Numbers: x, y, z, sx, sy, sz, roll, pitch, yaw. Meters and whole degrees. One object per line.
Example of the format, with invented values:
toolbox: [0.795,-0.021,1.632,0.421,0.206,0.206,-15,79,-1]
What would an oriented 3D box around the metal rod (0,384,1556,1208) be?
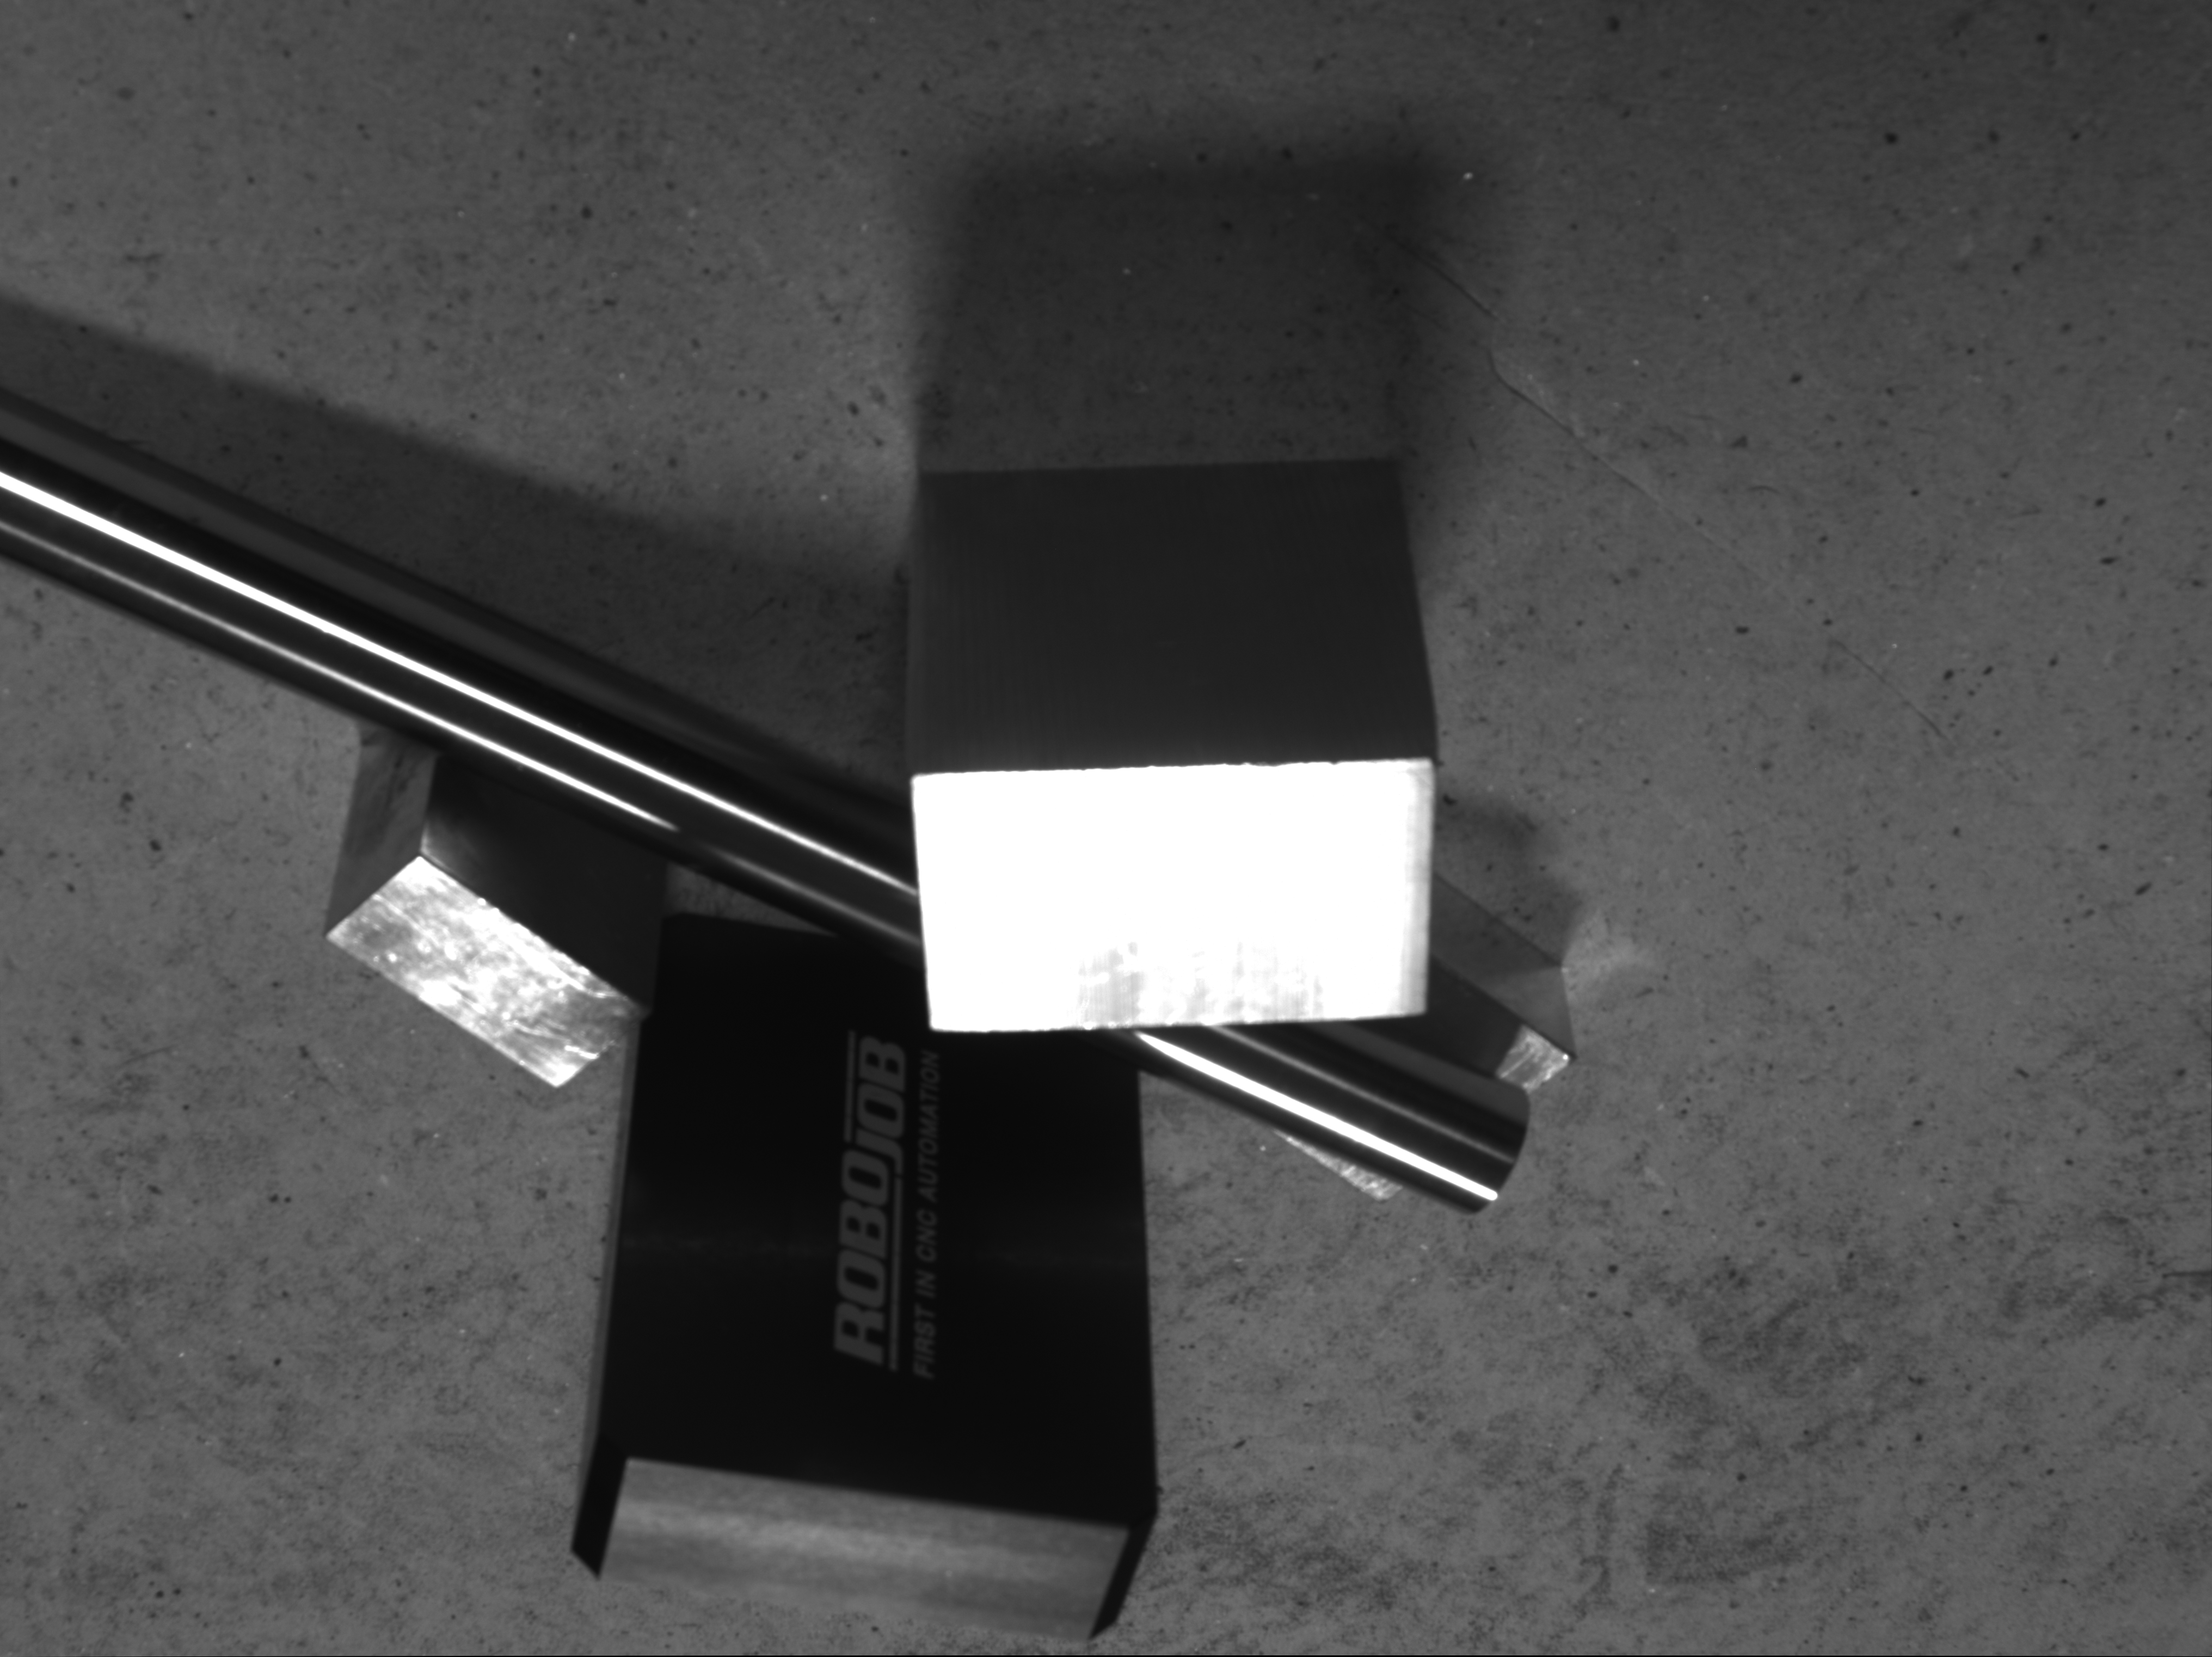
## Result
metal rod: [-0.059,-0.004,0.615,0.300,0.025,0.025,24,125,-14]

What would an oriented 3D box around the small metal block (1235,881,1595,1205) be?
small metal block: [0.053,0.035,0.671,0.050,0.025,0.050,34,121,-27]

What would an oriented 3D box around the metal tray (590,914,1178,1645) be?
metal tray: [-0.037,0.074,0.631,0.090,0.130,0.030,10,129,-10]

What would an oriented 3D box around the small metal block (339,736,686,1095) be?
small metal block: [-0.100,0.009,0.626,0.025,0.050,0.050,-37,122,26]

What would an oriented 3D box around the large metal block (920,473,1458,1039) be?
large metal block: [0.012,-0.013,0.591,0.080,0.080,0.050,-2,130,0]
